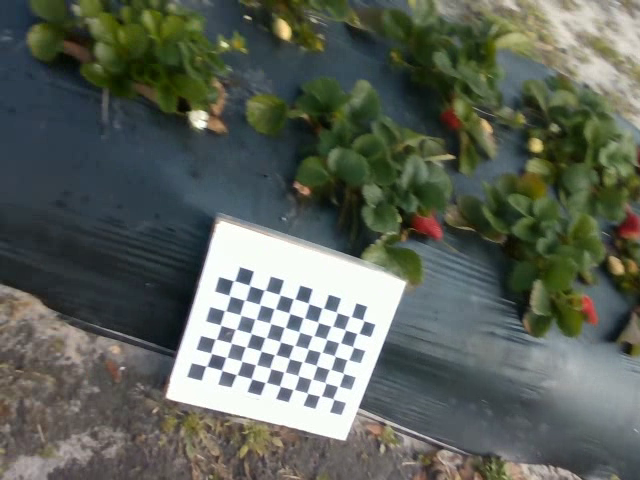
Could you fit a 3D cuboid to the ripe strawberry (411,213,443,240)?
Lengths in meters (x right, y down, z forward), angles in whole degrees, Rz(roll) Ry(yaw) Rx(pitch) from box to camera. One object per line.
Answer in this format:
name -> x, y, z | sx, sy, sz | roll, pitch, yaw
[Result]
ripe strawberry -> 0.166, -0.034, 1.416 | 0.050, 0.064, 0.043 | -41, 21, -14
